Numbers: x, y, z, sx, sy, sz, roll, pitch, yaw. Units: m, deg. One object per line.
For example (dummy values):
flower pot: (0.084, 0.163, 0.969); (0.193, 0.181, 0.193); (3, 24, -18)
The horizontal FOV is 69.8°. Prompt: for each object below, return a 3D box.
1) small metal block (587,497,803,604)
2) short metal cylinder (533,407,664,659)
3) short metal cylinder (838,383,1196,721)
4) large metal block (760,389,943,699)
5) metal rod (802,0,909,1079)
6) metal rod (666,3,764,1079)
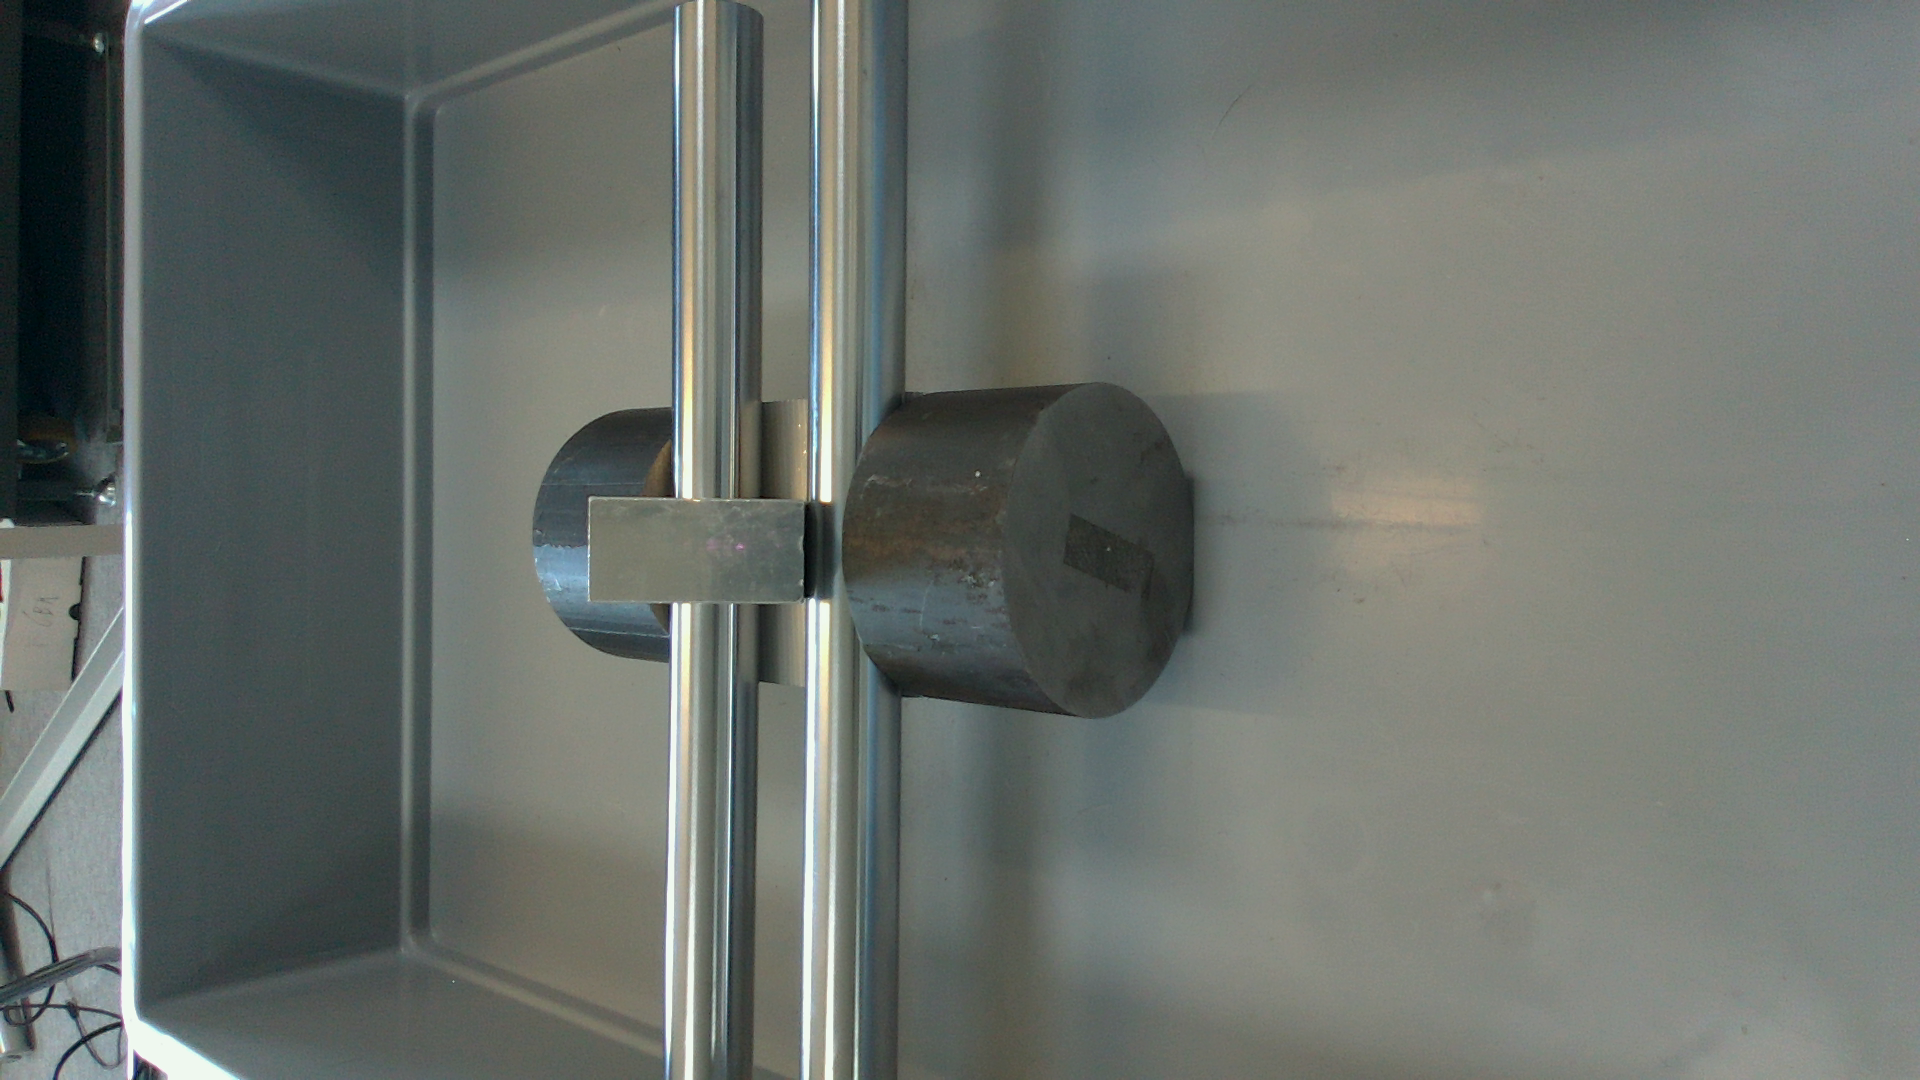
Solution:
small metal block: (-0.065, 0.002, 0.349); (0.050, 0.050, 0.025); (-173, 83, -84)
short metal cylinder: (-0.083, -0.002, 0.428); (0.050, 0.080, 0.080); (2, 91, 40)
short metal cylinder: (0.016, 0.002, 0.343); (0.050, 0.080, 0.080); (1, 91, 41)
large metal block: (-0.024, 0.001, 0.397); (0.080, 0.050, 0.080); (1, 91, 40)
metal rod: (-0.027, 0.003, 0.351); (0.025, 0.025, 0.300); (1, 91, 40)
metal rod: (-0.069, 0.005, 0.386); (0.025, 0.025, 0.300); (1, 91, 40)
